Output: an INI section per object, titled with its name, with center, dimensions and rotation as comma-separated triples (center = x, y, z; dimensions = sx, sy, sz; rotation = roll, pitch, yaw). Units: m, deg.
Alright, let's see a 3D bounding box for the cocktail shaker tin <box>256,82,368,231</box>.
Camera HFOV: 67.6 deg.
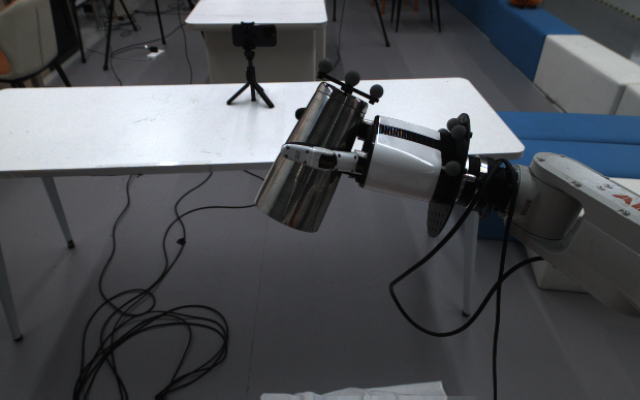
[cocktail shaker tin]
center = -0.004, -0.058, 0.607
dimensions = 0.093, 0.170, 0.093
rotation = 24, 12, -6
